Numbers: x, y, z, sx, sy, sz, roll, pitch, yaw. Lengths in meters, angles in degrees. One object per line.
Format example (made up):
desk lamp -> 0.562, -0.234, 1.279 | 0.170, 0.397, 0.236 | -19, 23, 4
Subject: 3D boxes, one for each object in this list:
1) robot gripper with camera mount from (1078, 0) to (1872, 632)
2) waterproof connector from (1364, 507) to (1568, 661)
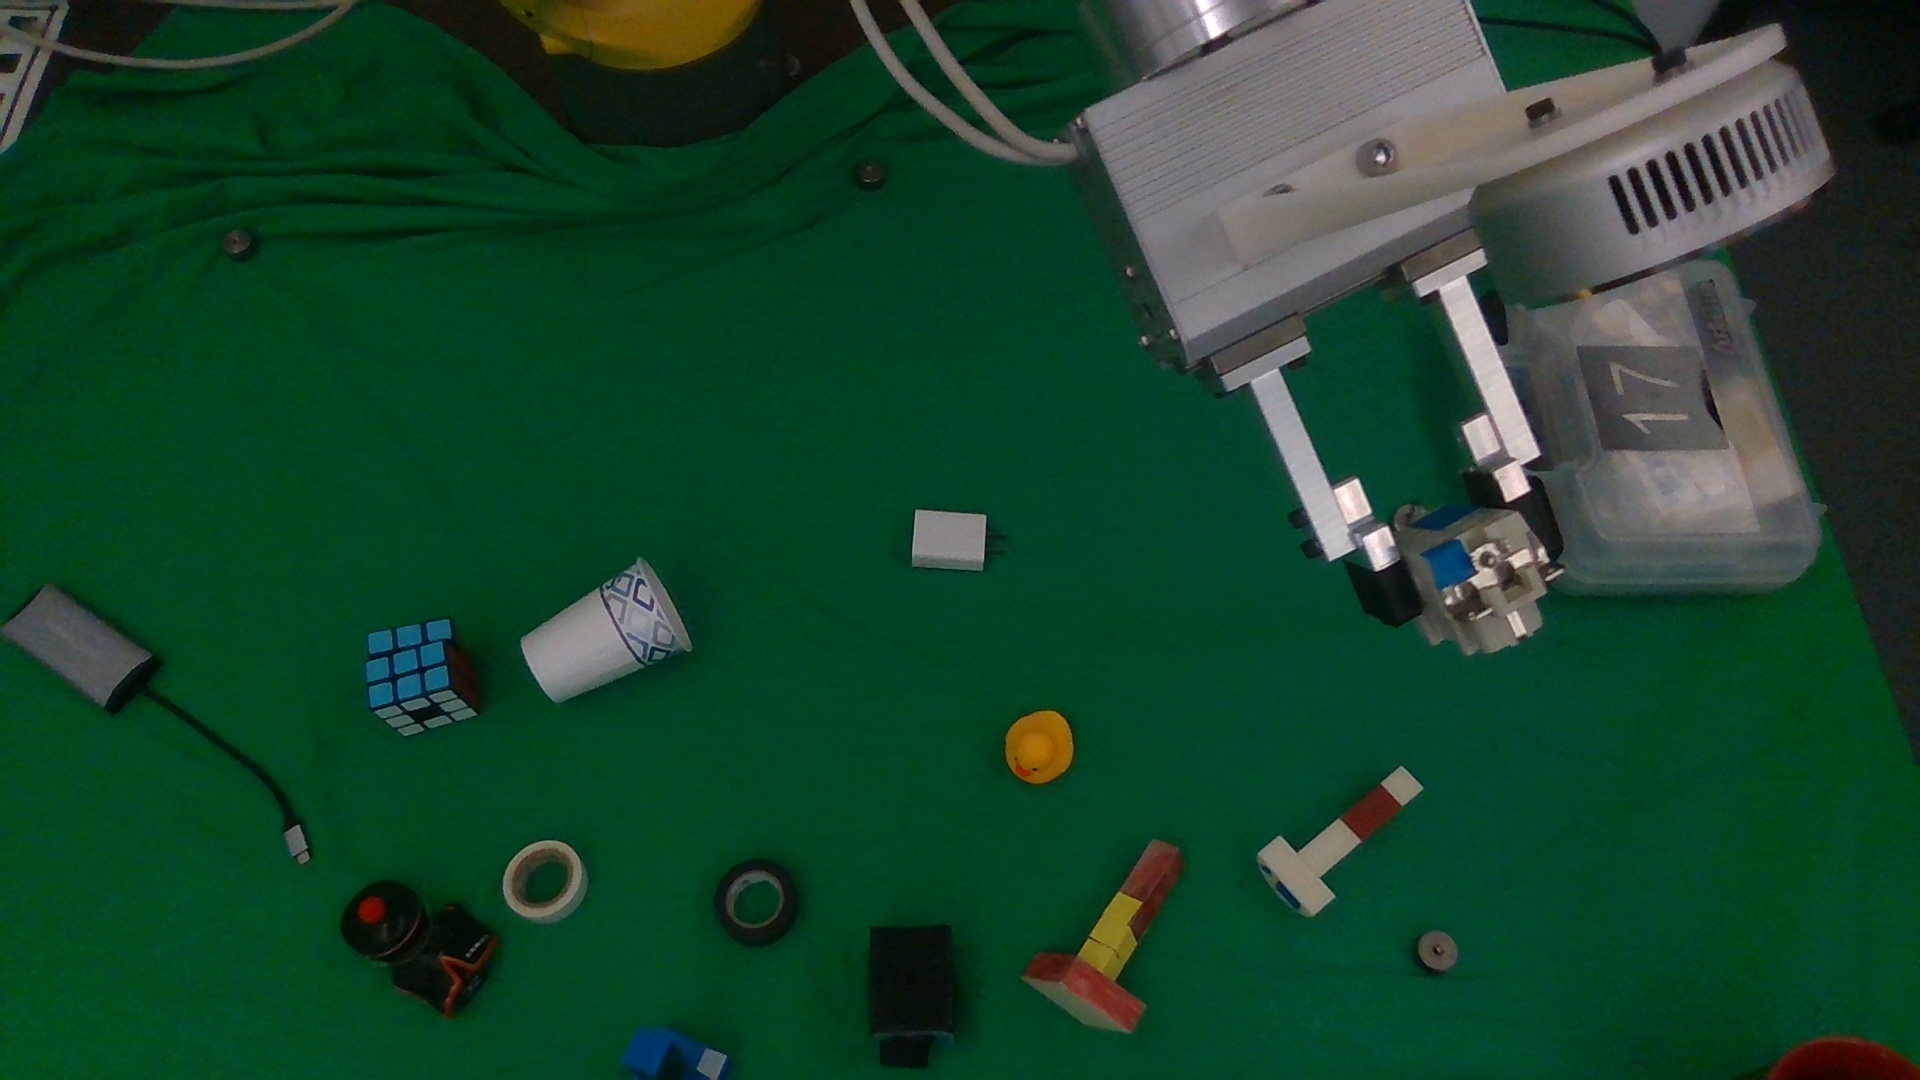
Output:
robot gripper with camera mount -> 0.135, -0.052, 0.327 | 0.119, 0.193, 0.158 | -25, 97, -8
waterproof connector -> 0.151, 0.014, 0.416 | 0.035, 0.065, 0.037 | -30, 94, -8
